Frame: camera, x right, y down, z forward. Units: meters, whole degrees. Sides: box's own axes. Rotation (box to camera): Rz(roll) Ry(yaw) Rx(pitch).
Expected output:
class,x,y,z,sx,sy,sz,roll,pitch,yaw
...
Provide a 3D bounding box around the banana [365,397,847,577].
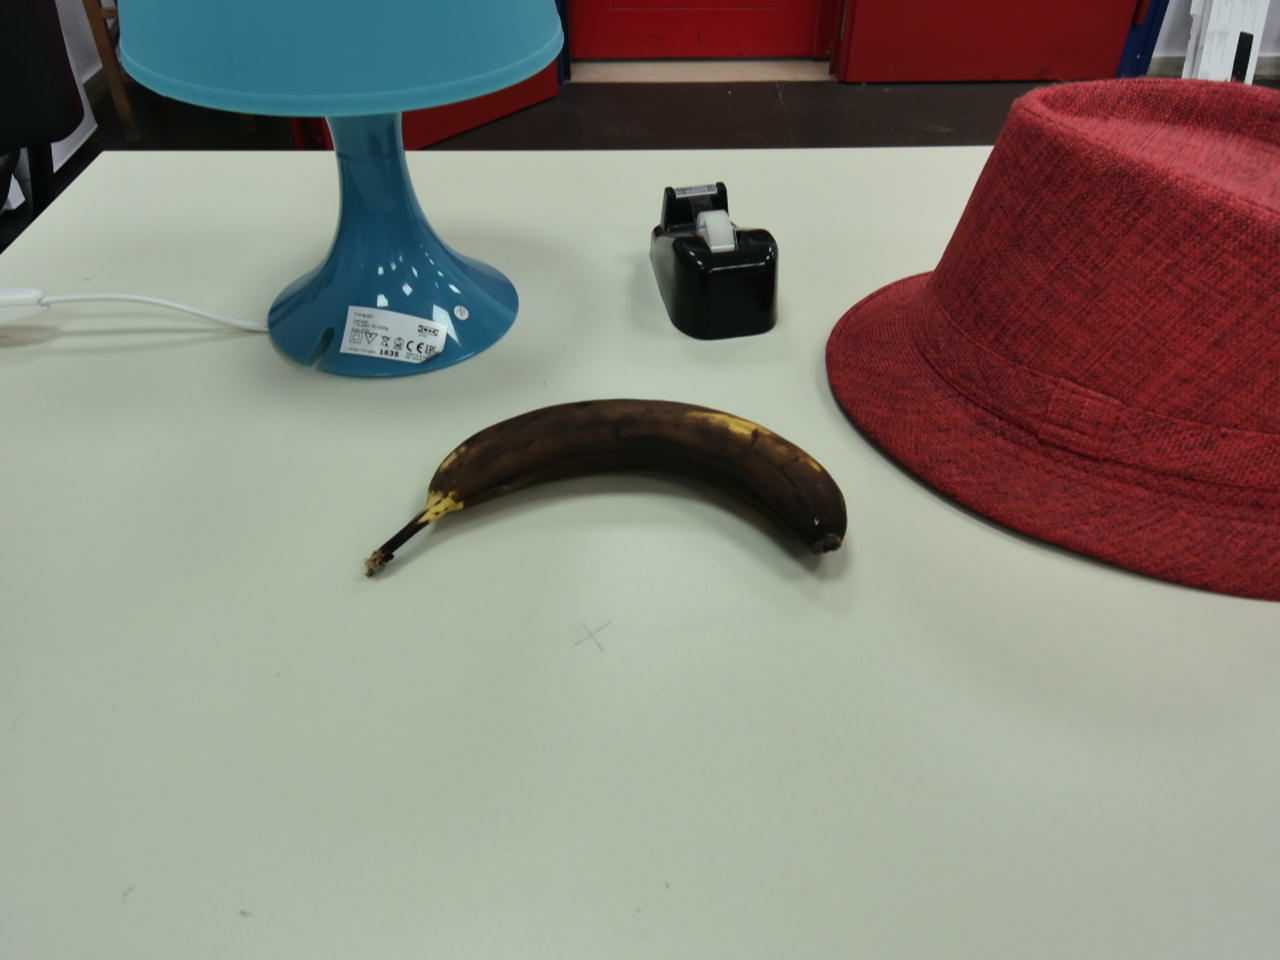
class,x,y,z,sx,sy,sz,roll,pitch,yaw
banana,-0.012,-0.003,0.414,0.188,0.034,0.091,0,39,1
